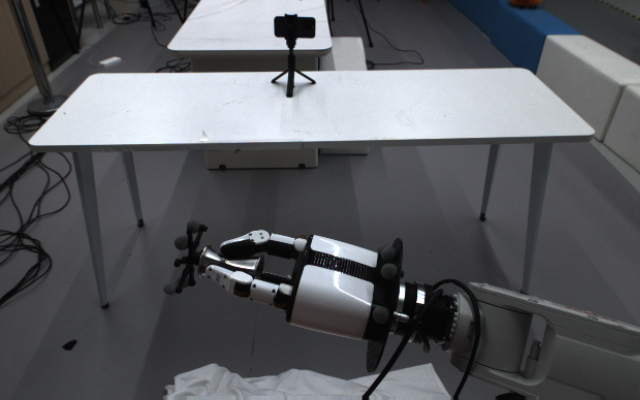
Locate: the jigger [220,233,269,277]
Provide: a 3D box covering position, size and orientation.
[{"bbox_3d":[-0.098,0.077,0.576,0.071,0.043,0.043,12,36,5],"label":"jigger"}]
